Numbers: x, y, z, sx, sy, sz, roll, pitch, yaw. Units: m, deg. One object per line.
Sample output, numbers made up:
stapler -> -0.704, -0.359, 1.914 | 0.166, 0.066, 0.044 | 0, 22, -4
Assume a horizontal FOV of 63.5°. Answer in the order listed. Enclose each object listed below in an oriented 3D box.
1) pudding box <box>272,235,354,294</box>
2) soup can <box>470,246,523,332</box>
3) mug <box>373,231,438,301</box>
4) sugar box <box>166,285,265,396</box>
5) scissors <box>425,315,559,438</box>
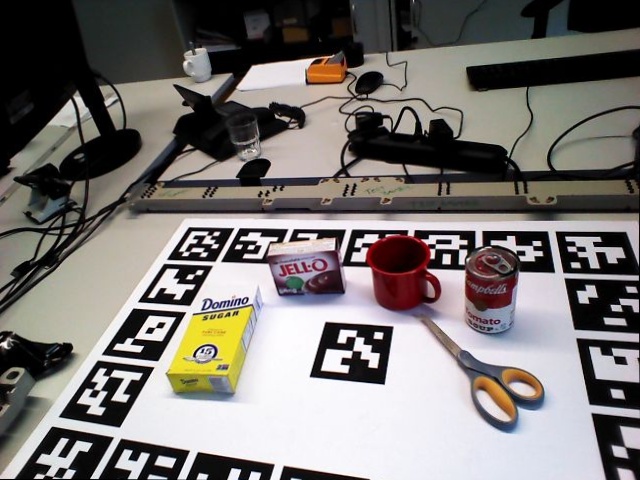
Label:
pudding box -> -0.009, 0.038, 0.799 | 0.114, 0.090, 0.038 | -6, 45, 9
soup can -> 0.238, 0.065, 0.696 | 0.068, 0.102, 0.067 | -9, 37, 7
mug -> 0.136, 0.043, 0.761 | 0.093, 0.081, 0.117 | -25, 38, -10
sugar box -> -0.147, 0.142, 0.759 | 0.093, 0.045, 0.175 | -4, 41, 16
scissors -> 0.202, 0.153, 0.654 | 0.087, 0.016, 0.203 | -34, 43, -10
